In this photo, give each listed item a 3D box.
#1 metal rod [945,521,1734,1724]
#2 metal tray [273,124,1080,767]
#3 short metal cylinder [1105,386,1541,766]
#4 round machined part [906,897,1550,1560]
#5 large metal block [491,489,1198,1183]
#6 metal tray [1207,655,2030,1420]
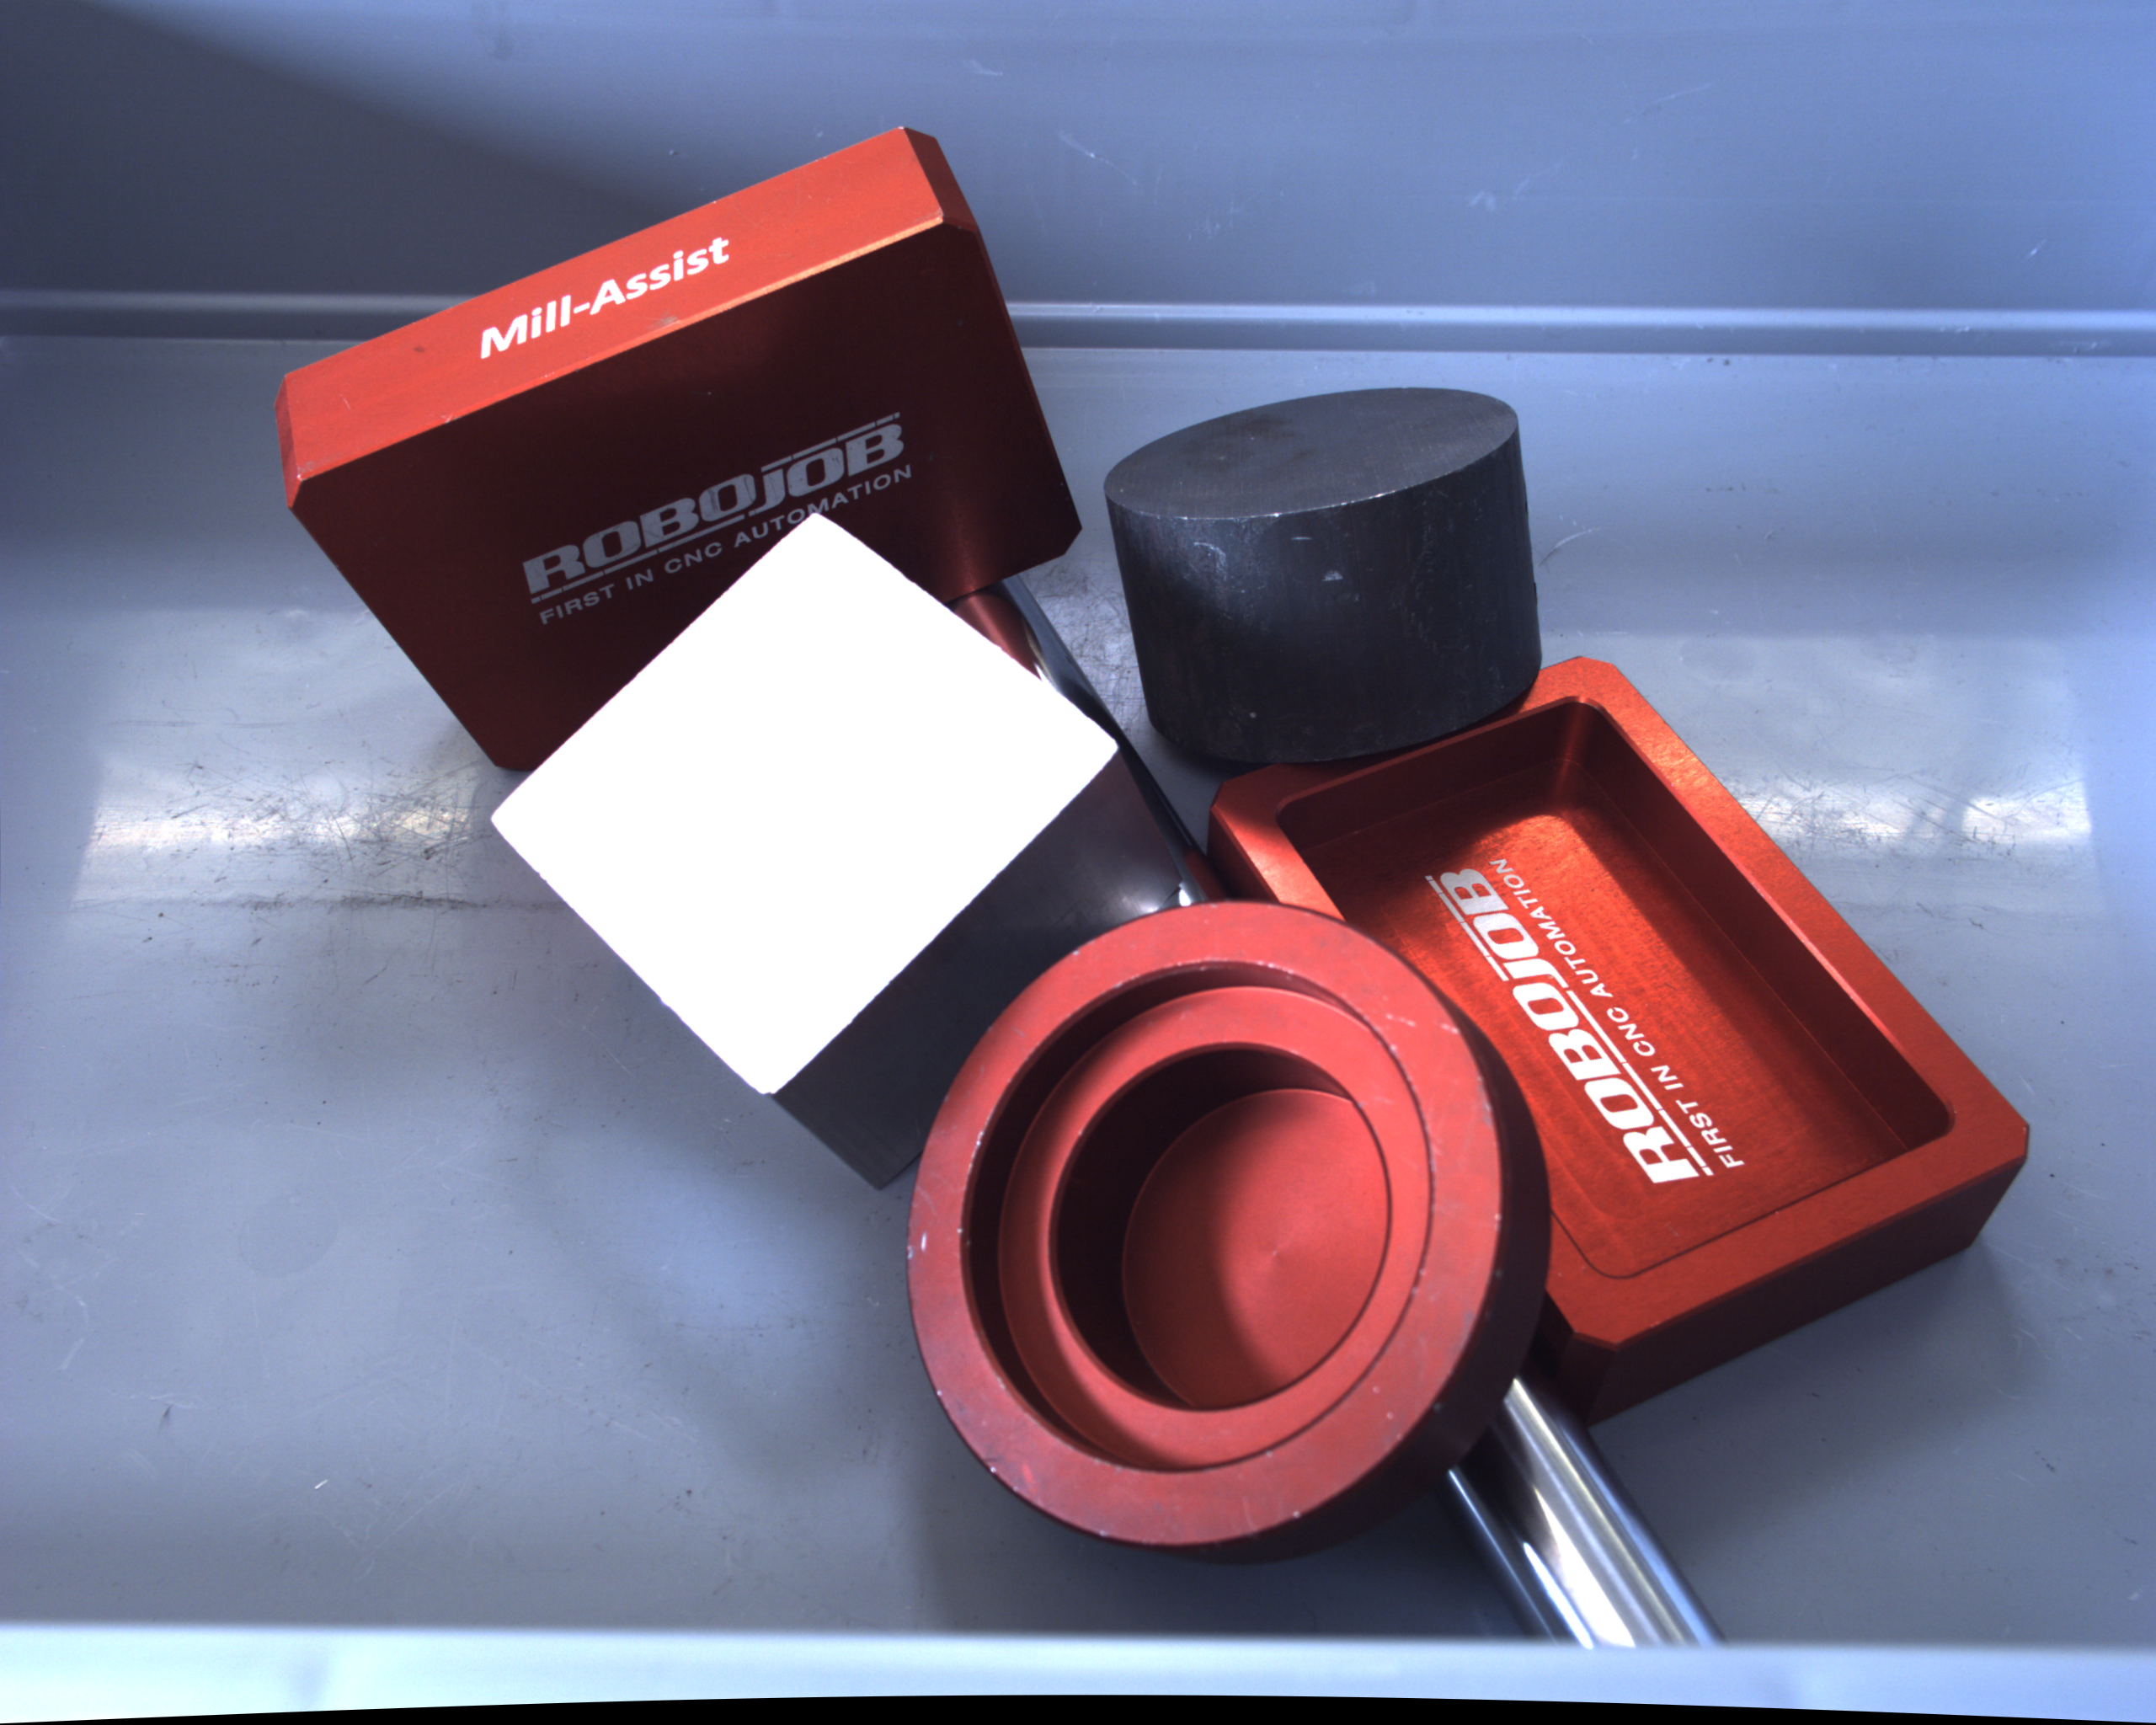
[{"bbox_3d":[0.020,0.016,0.388,0.025,0.025,0.300,-20,53,-16],"label":"metal rod"},{"bbox_3d":[-0.074,-0.077,0.406,0.131,0.090,0.030,-22,54,0],"label":"metal tray"},{"bbox_3d":[0.050,-0.059,0.417,0.080,0.050,0.080,-10,26,5],"label":"short metal cylinder"},{"bbox_3d":[0.026,0.058,0.325,0.098,0.042,0.098,-13,62,26],"label":"round machined part"},{"bbox_3d":[-0.039,-0.005,0.367,0.080,0.050,0.080,-44,61,-10],"label":"large metal block"},{"bbox_3d":[0.091,0.025,0.379,0.091,0.030,0.130,-20,53,-16],"label":"metal tray"}]
